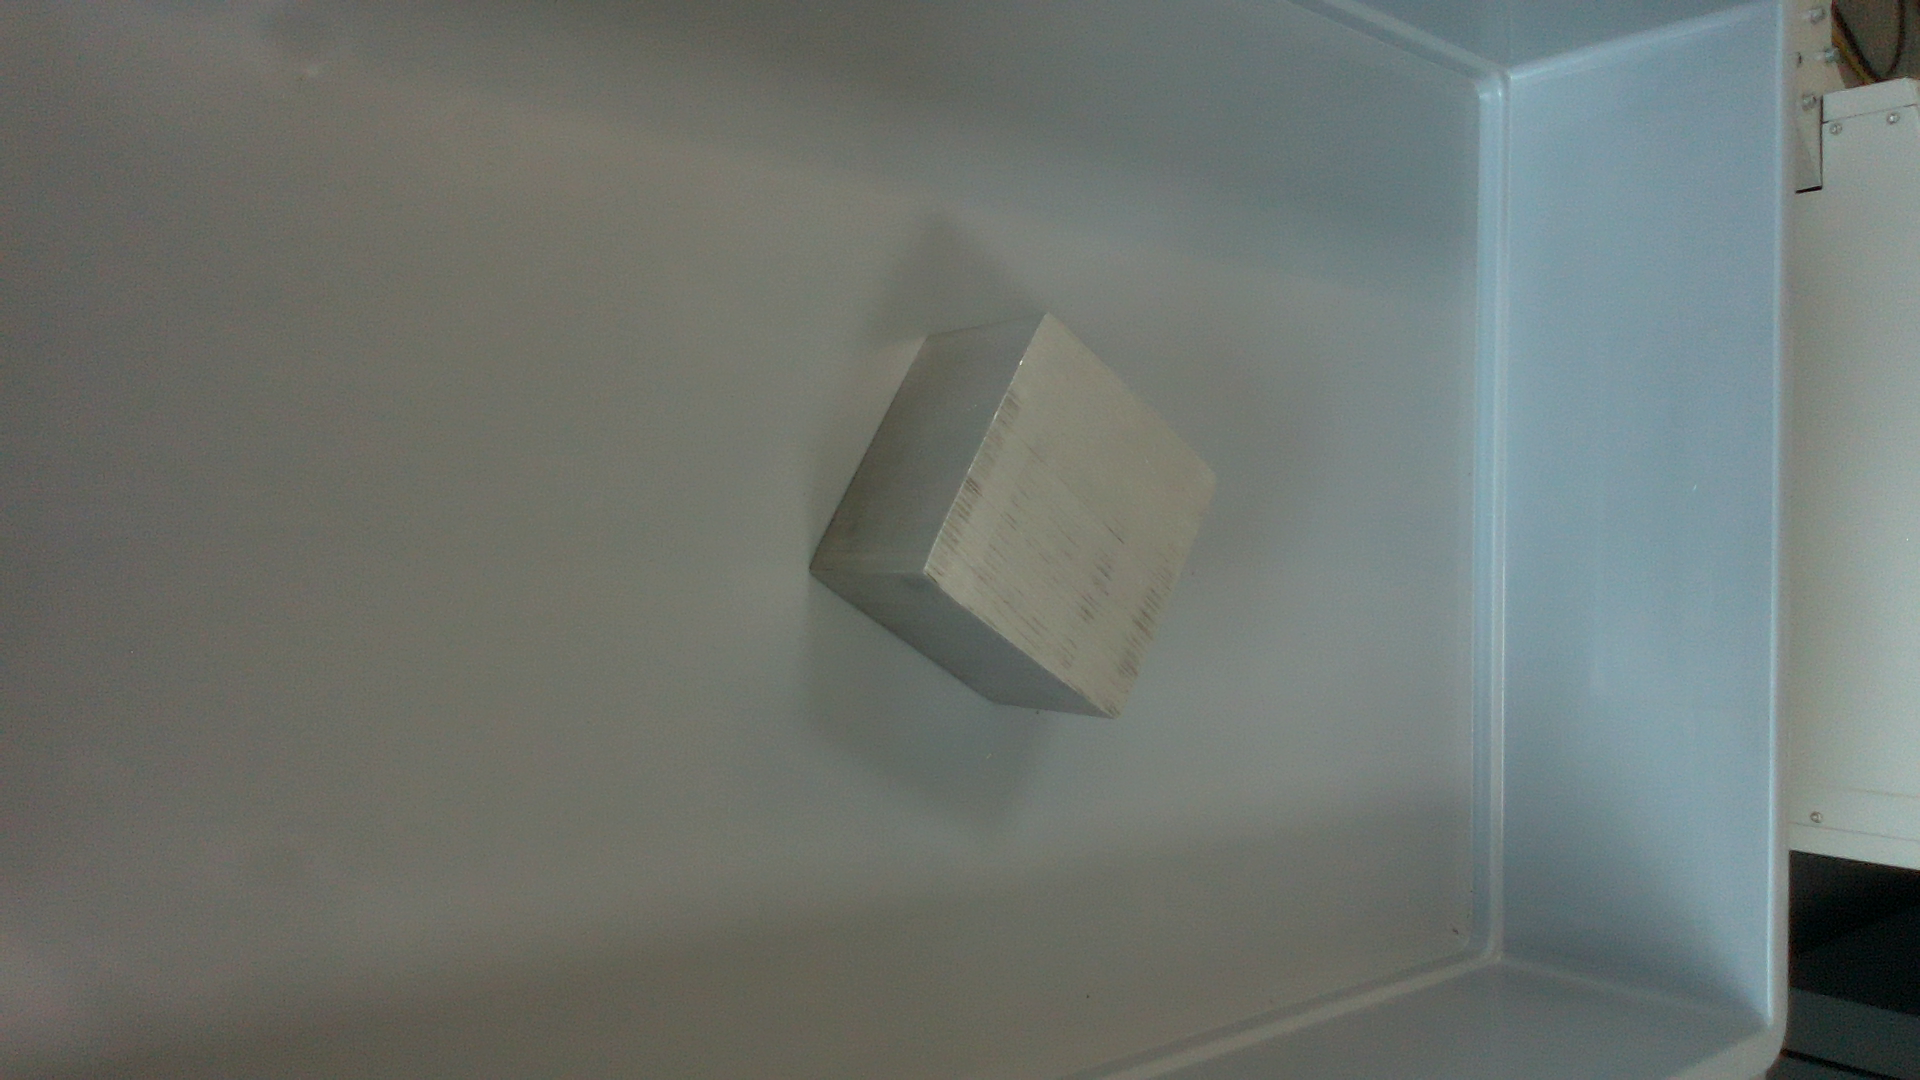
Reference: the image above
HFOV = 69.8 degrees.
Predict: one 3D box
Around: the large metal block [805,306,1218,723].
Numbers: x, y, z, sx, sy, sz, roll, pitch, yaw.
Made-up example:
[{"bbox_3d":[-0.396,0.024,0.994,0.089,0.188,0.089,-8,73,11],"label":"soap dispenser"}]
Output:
[{"bbox_3d":[0.017,-0.005,0.382,0.080,0.050,0.080,39,66,-33],"label":"large metal block"}]
